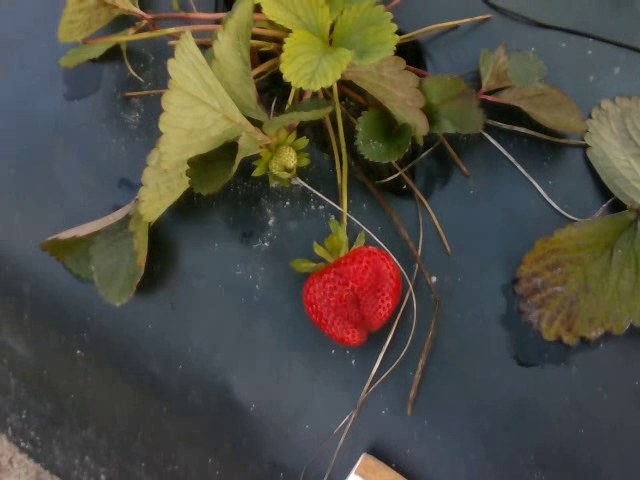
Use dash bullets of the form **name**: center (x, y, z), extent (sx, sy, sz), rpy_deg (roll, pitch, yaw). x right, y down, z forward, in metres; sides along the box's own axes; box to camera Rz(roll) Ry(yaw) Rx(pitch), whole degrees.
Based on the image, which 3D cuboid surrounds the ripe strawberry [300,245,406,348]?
- **ripe strawberry**: center (0.004, 0.009, 0.071), extent (0.017, 0.015, 0.013), rpy_deg (-38, -49, 24)
